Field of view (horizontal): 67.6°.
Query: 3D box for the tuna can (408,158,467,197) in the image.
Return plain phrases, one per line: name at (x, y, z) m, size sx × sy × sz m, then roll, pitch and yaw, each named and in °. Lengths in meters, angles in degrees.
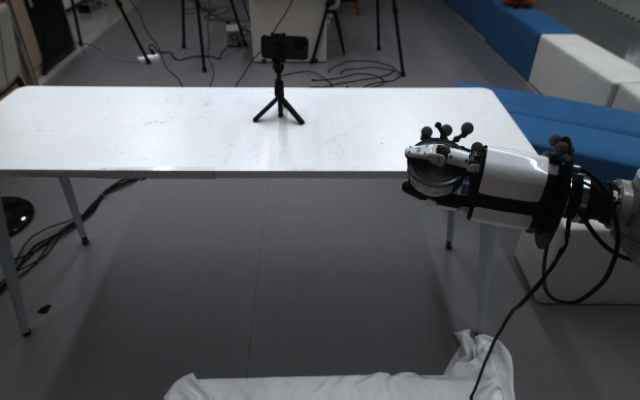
tuna can at (0.172, -0.050, 0.711) m, size 0.085 × 0.034 × 0.085 m, roll -4°, pitch 55°, yaw 6°
